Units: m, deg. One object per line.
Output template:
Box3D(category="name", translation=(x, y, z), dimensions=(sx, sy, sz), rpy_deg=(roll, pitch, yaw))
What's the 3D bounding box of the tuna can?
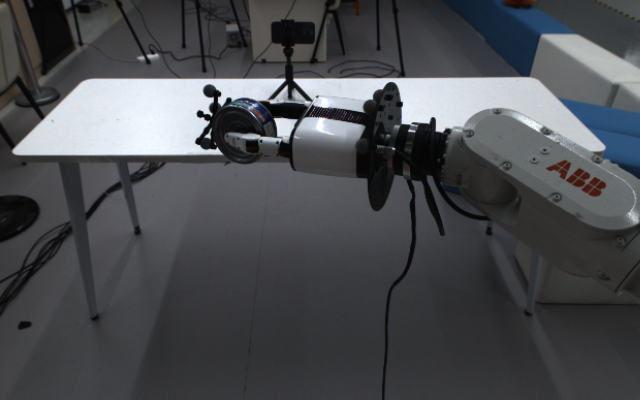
Box3D(category="tuna can", translation=(-0.103, -0.095, 0.660), dimensions=(0.085, 0.085, 0.034), rpy_deg=(14, 31, 17))
